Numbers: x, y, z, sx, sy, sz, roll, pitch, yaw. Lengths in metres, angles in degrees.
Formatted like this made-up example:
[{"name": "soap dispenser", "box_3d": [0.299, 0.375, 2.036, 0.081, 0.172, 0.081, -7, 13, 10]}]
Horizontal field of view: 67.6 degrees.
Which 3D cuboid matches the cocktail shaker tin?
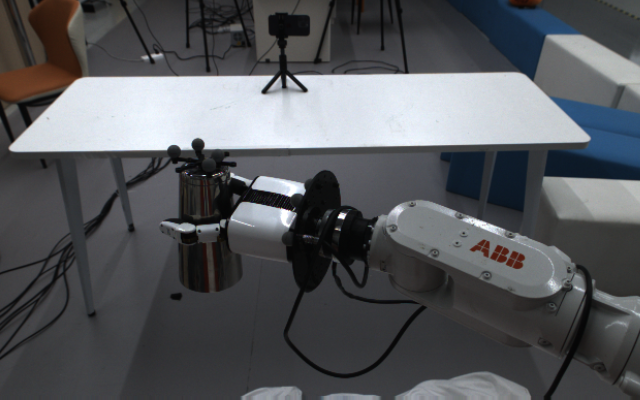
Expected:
[{"name": "cocktail shaker tin", "box_3d": [-0.157, 0.033, 0.678, 0.093, 0.170, 0.093, 2, 26, -1]}]
